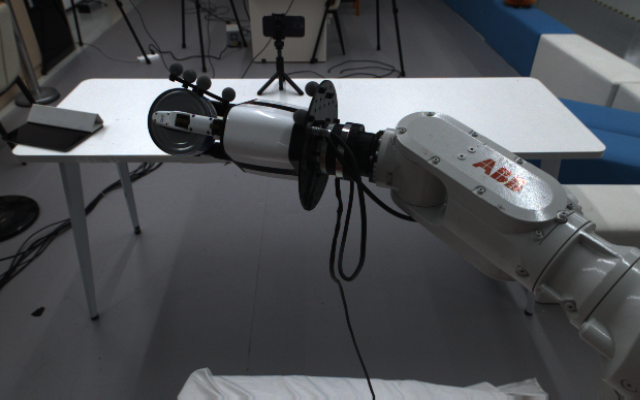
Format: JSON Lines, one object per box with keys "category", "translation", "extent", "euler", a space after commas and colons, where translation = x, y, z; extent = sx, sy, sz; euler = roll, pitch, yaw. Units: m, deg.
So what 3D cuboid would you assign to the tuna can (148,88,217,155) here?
{"category": "tuna can", "translation": [-0.175, -0.099, 0.629], "extent": [0.085, 0.085, 0.034], "euler": [10, 4, 11]}
